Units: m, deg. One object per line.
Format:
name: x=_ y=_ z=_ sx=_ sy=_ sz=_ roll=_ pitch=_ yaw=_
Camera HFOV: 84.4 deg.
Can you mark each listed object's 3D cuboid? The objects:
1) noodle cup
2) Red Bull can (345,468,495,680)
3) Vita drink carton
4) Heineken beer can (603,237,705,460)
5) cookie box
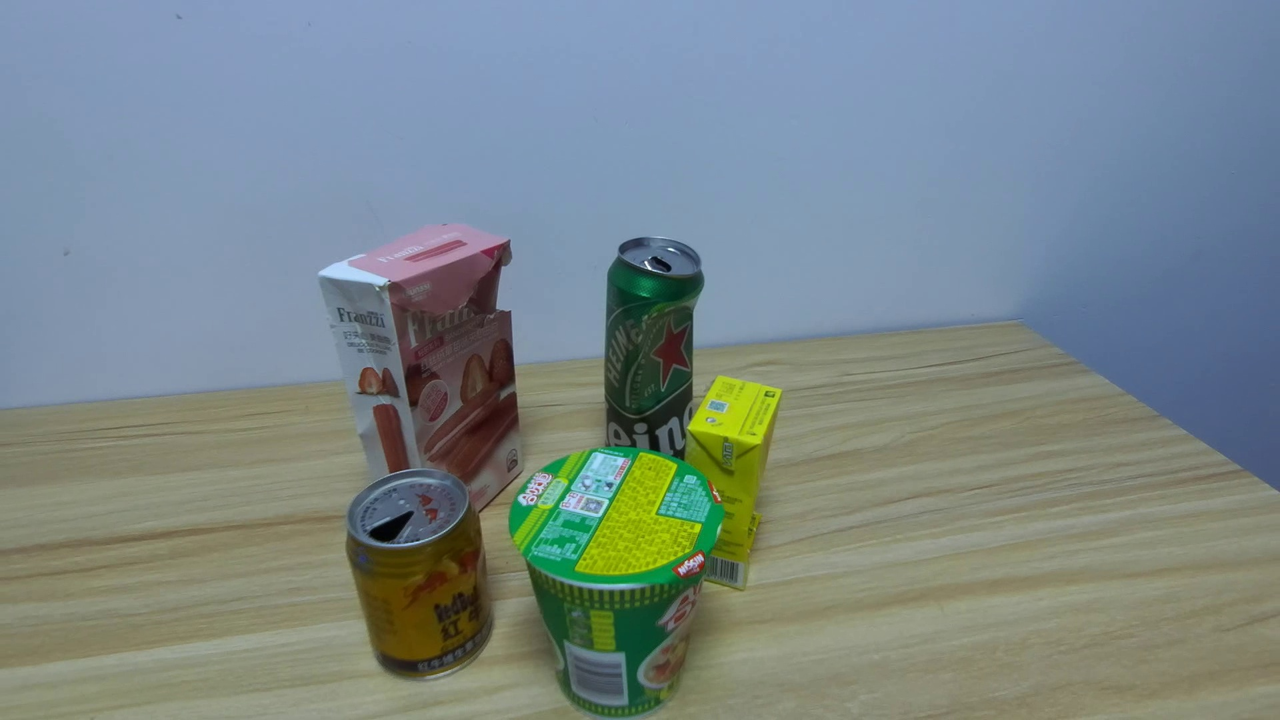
noodle cup: x=-0.011 y=0.117 z=0.351 sx=0.097 sy=0.110 sz=0.097 roll=0 pitch=28 yaw=0
Red Bull can: x=-0.115 y=0.112 z=0.373 sx=0.068 sy=0.093 sz=0.068 roll=0 pitch=28 yaw=0
Vita drink carton: x=0.056 y=0.071 z=0.428 sx=0.043 sy=0.109 sz=0.076 roll=11 pitch=30 yaw=19
Heineken beer can: x=0.010 y=0.003 z=0.493 sx=0.068 sy=0.168 sz=0.069 roll=-4 pitch=32 yaw=-11
cookie box: x=-0.129 y=0.018 z=0.451 sx=0.059 sy=0.186 sz=0.105 roll=15 pitch=31 yaw=25
